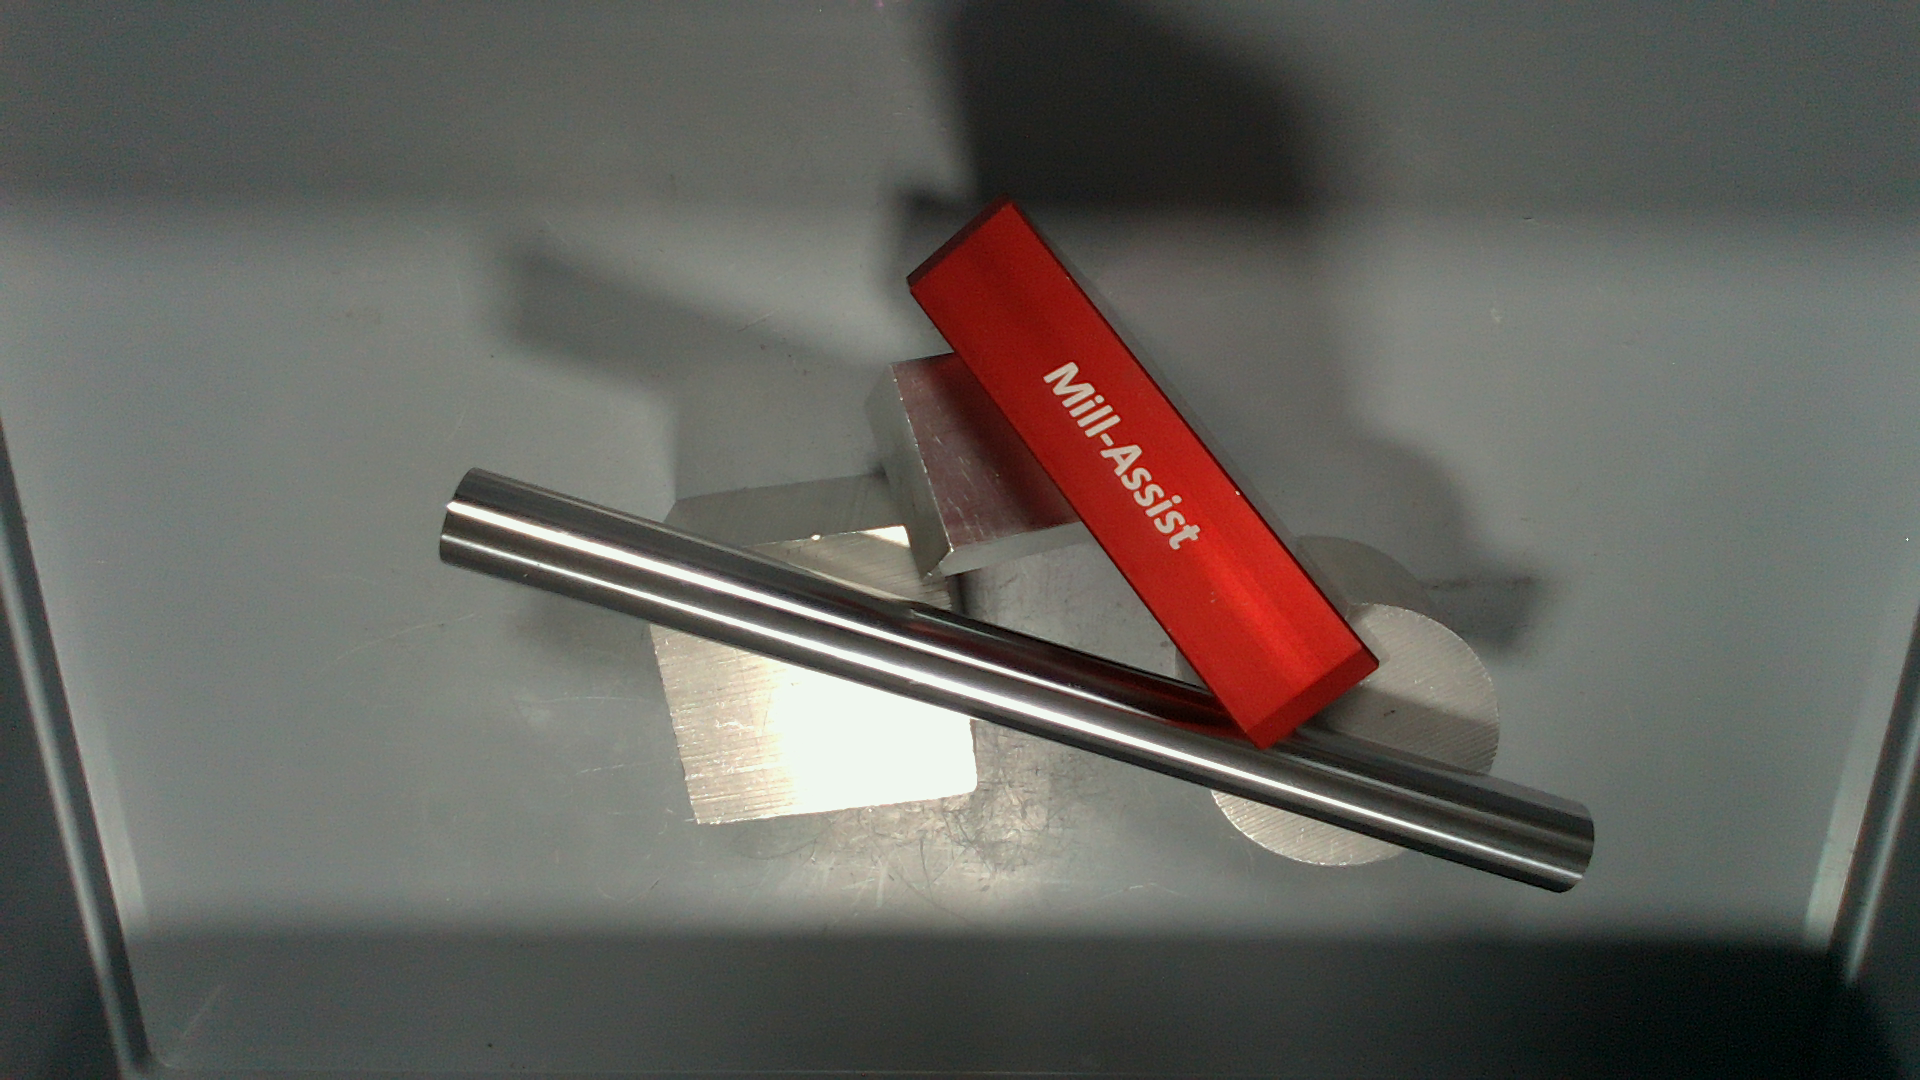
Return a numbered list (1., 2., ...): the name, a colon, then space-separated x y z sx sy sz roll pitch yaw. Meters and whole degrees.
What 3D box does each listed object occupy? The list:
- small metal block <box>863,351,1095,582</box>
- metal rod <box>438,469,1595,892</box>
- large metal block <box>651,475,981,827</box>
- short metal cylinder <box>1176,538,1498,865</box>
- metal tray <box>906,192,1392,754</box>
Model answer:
1. small metal block: 0.009 -0.022 0.349 0.050 0.025 0.050 -13 76 -23
2. metal rod: 0.020 0.038 0.353 0.300 0.025 0.025 17 109 -6
3. large metal block: -0.039 0.029 0.390 0.080 0.050 0.080 -7 110 3
4. short metal cylinder: 0.106 0.045 0.397 0.080 0.050 0.080 0 110 0
5. metal tray: 0.048 -0.014 0.327 0.030 0.090 0.130 -39 76 12
